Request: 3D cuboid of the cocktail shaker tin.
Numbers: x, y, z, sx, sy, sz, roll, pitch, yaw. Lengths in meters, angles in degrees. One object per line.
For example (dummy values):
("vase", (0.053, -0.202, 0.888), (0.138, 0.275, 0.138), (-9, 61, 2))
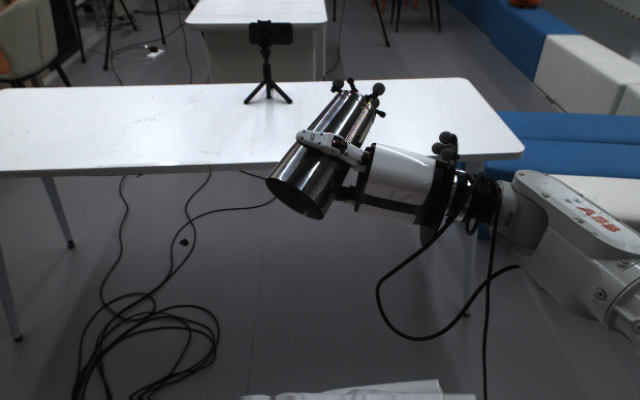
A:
("cocktail shaker tin", (0.009, -0.074, 0.668), (0.093, 0.093, 0.170), (22, 67, 26))
